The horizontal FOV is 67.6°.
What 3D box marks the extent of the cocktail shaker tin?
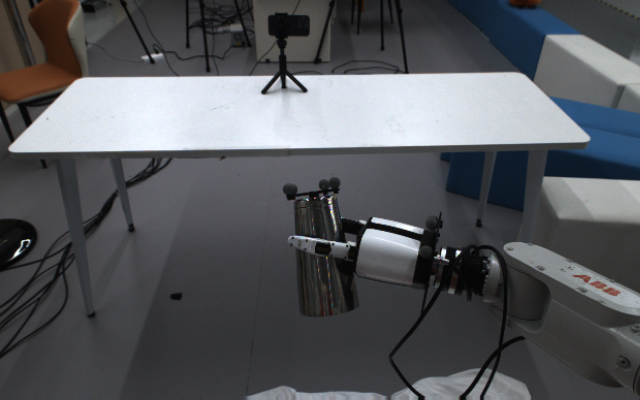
[{"bbox_3d":[0.003,0.081,0.736,0.093,0.170,0.093,-8,1,0],"label":"cocktail shaker tin"}]
